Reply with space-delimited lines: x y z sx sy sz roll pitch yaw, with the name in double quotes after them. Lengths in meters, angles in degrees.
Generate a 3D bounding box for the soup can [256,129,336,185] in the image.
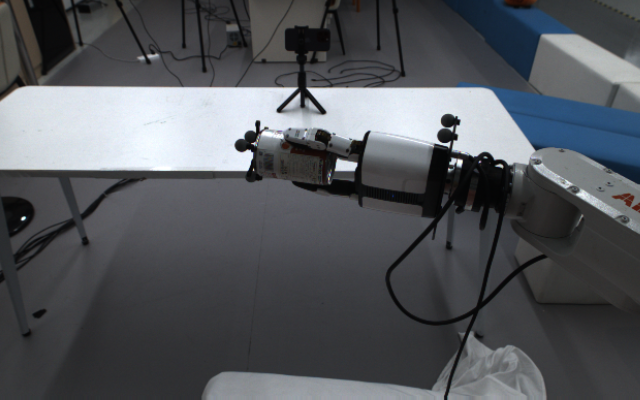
-0.031 -0.058 0.663 0.101 0.067 0.067 8 35 10 "soup can"
